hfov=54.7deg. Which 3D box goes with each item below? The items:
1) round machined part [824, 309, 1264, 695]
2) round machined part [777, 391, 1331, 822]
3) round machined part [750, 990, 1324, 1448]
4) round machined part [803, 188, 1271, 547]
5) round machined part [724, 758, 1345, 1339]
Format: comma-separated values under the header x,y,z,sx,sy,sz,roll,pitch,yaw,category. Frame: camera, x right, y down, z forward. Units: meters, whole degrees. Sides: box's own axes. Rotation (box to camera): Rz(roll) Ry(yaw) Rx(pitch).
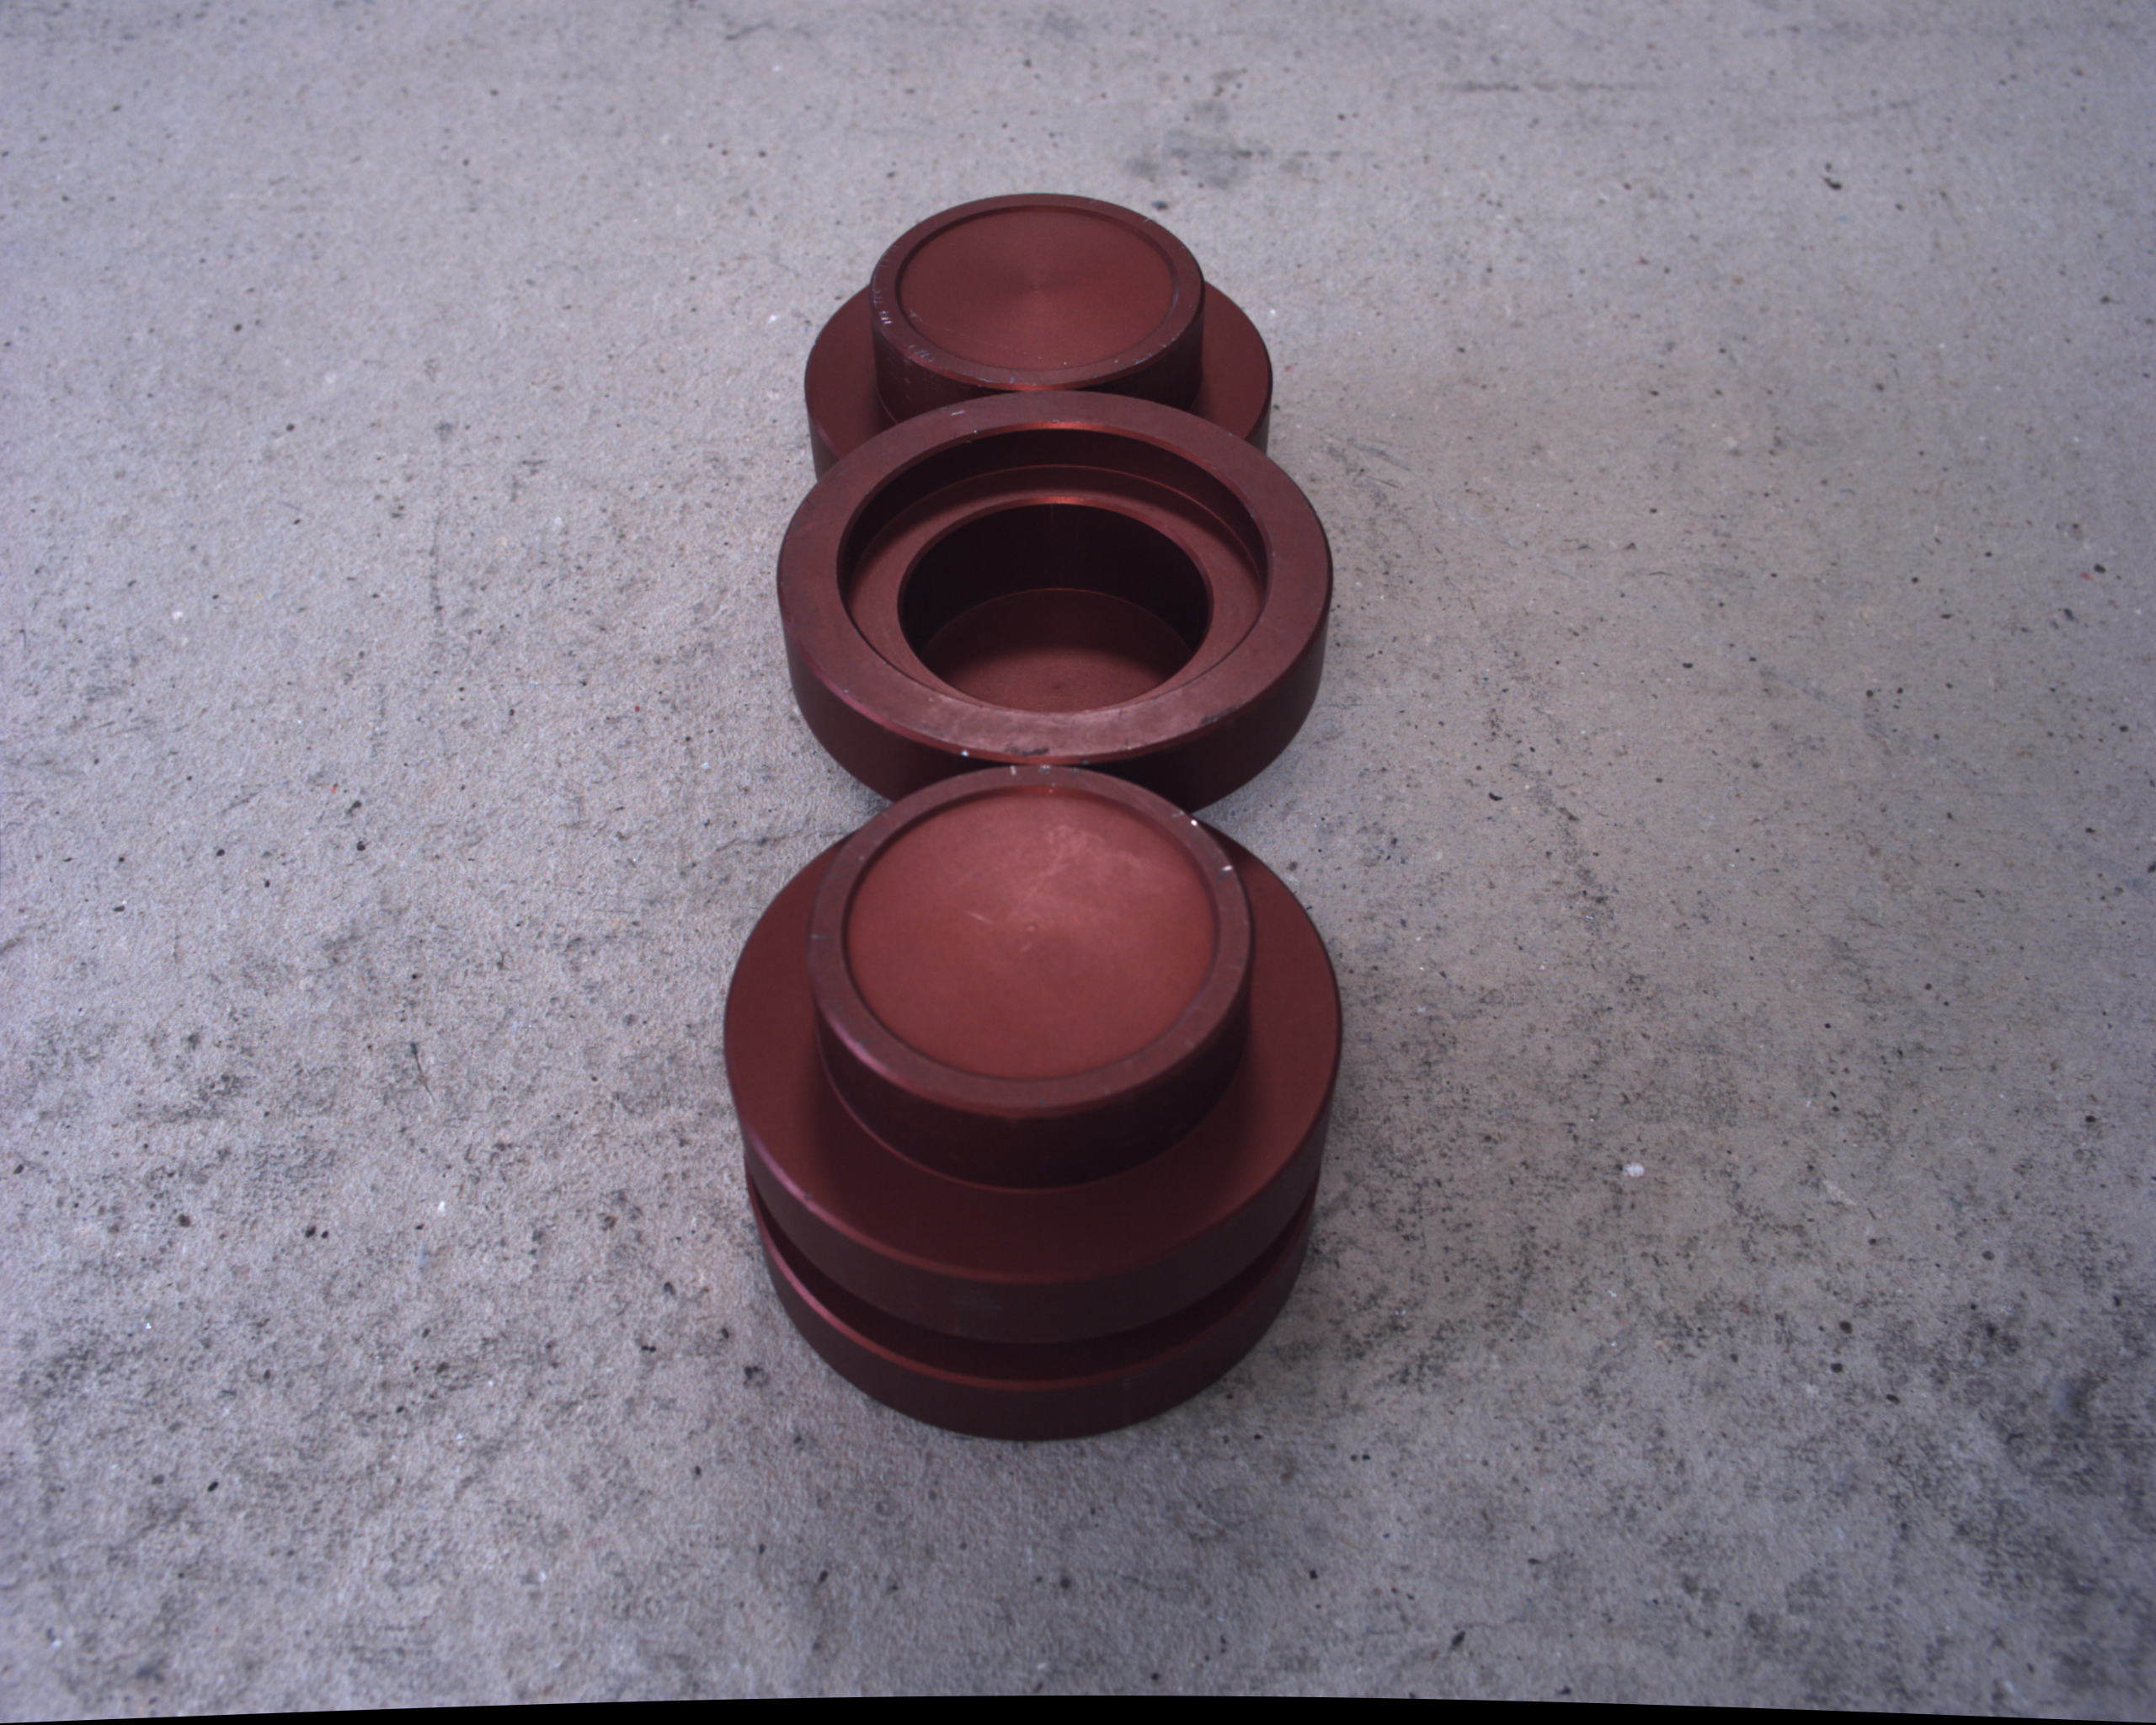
x,y,z,sx,sy,sz,roll,pitch,yaw,category
-0.008,-0.086,0.466,0.099,0.042,0.098,-1,50,1,round machined part
-0.004,-0.041,0.386,0.099,0.042,0.098,0,50,0,round machined part
-0.007,0.046,0.357,0.099,0.042,0.098,0,49,1,round machined part
-0.009,-0.105,0.439,0.099,0.042,0.098,0,50,1,round machined part
-0.007,0.022,0.332,0.099,0.042,0.098,0,50,1,round machined part
